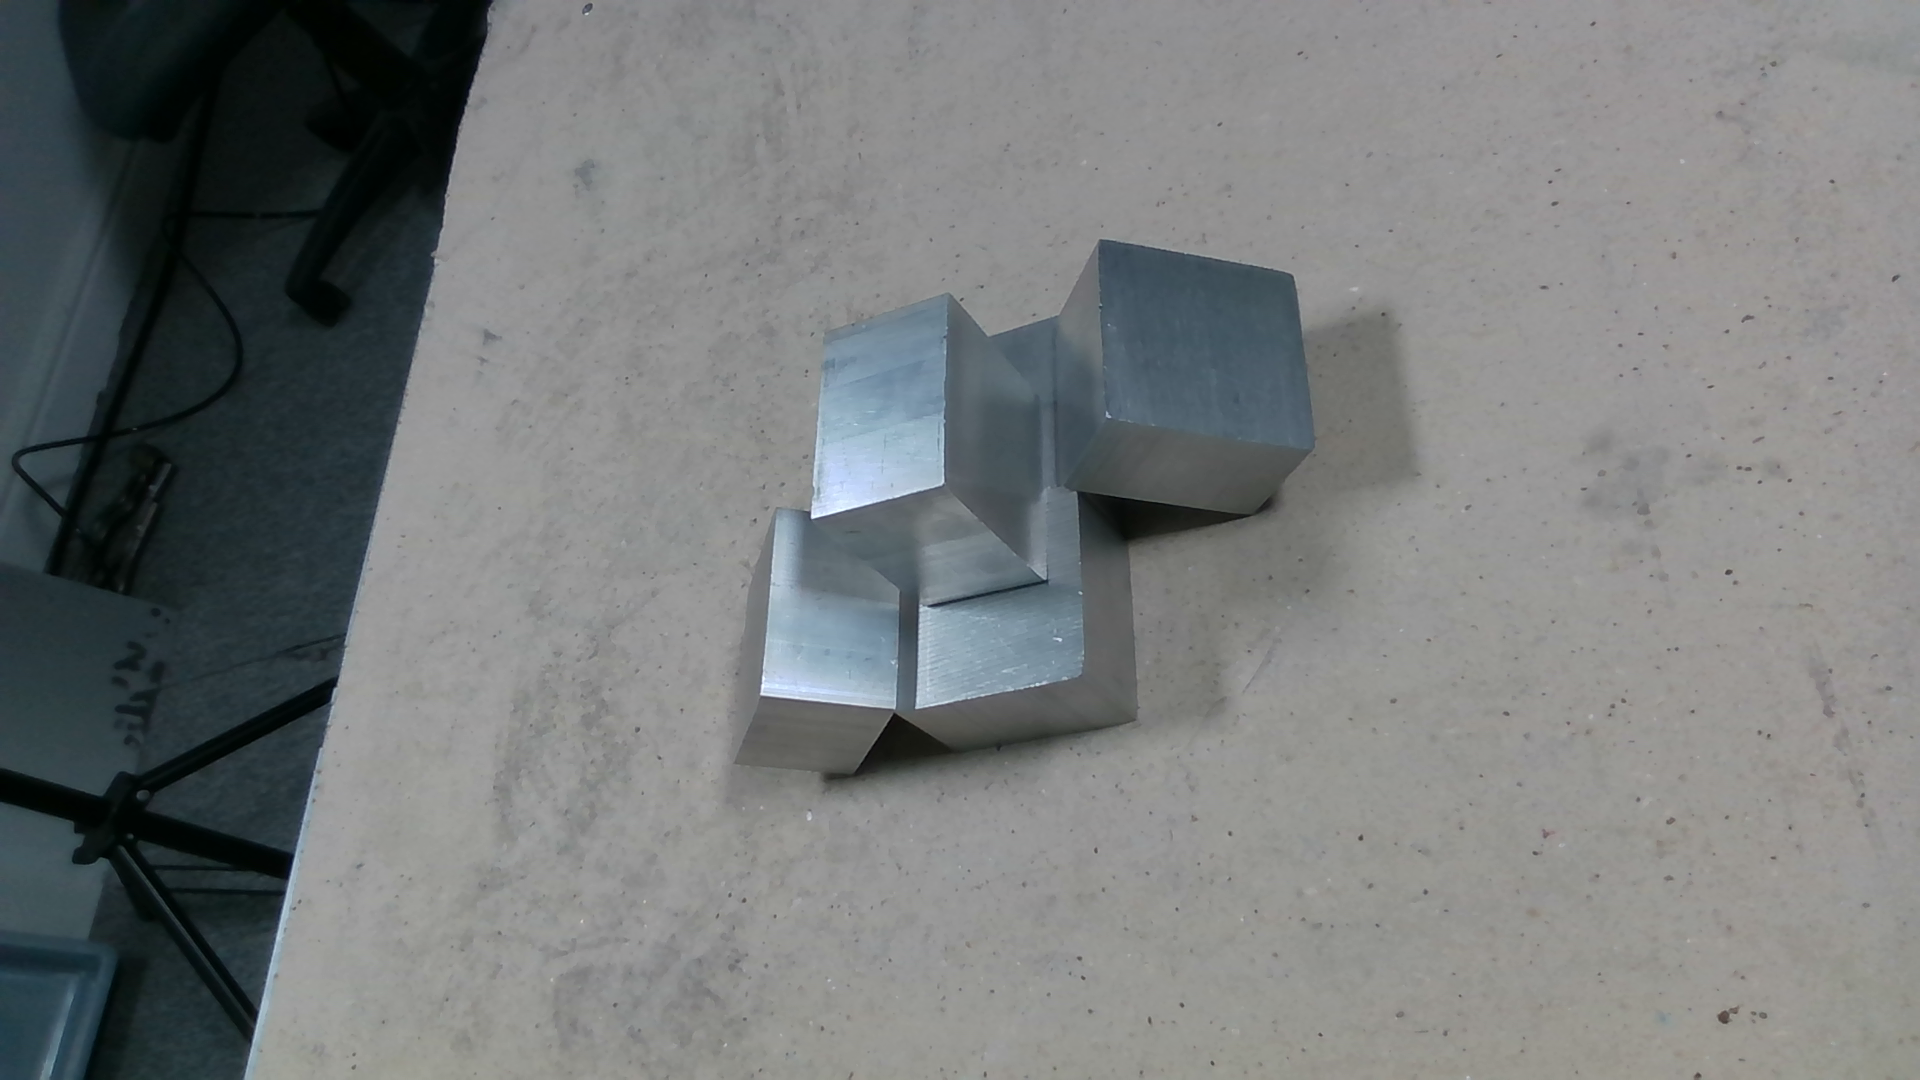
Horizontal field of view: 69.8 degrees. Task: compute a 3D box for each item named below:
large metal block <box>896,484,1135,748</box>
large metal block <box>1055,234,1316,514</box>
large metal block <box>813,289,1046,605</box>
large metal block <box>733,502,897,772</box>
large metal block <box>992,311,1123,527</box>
[{"bbox_3d":[0.020,0.031,0.539,0.080,0.050,0.080,-14,59,25],"label":"large metal block"},{"bbox_3d":[0.083,-0.062,0.524,0.080,0.050,0.080,8,61,-13],"label":"large metal block"},{"bbox_3d":[-0.008,-0.031,0.508,0.050,0.080,0.080,-13,59,26],"label":"large metal block"},{"bbox_3d":[-0.059,0.042,0.556,0.050,0.080,0.080,7,61,-13],"label":"large metal block"},{"bbox_3d":[0.020,-0.040,0.576,0.080,0.050,0.080,-14,59,25],"label":"large metal block"}]
